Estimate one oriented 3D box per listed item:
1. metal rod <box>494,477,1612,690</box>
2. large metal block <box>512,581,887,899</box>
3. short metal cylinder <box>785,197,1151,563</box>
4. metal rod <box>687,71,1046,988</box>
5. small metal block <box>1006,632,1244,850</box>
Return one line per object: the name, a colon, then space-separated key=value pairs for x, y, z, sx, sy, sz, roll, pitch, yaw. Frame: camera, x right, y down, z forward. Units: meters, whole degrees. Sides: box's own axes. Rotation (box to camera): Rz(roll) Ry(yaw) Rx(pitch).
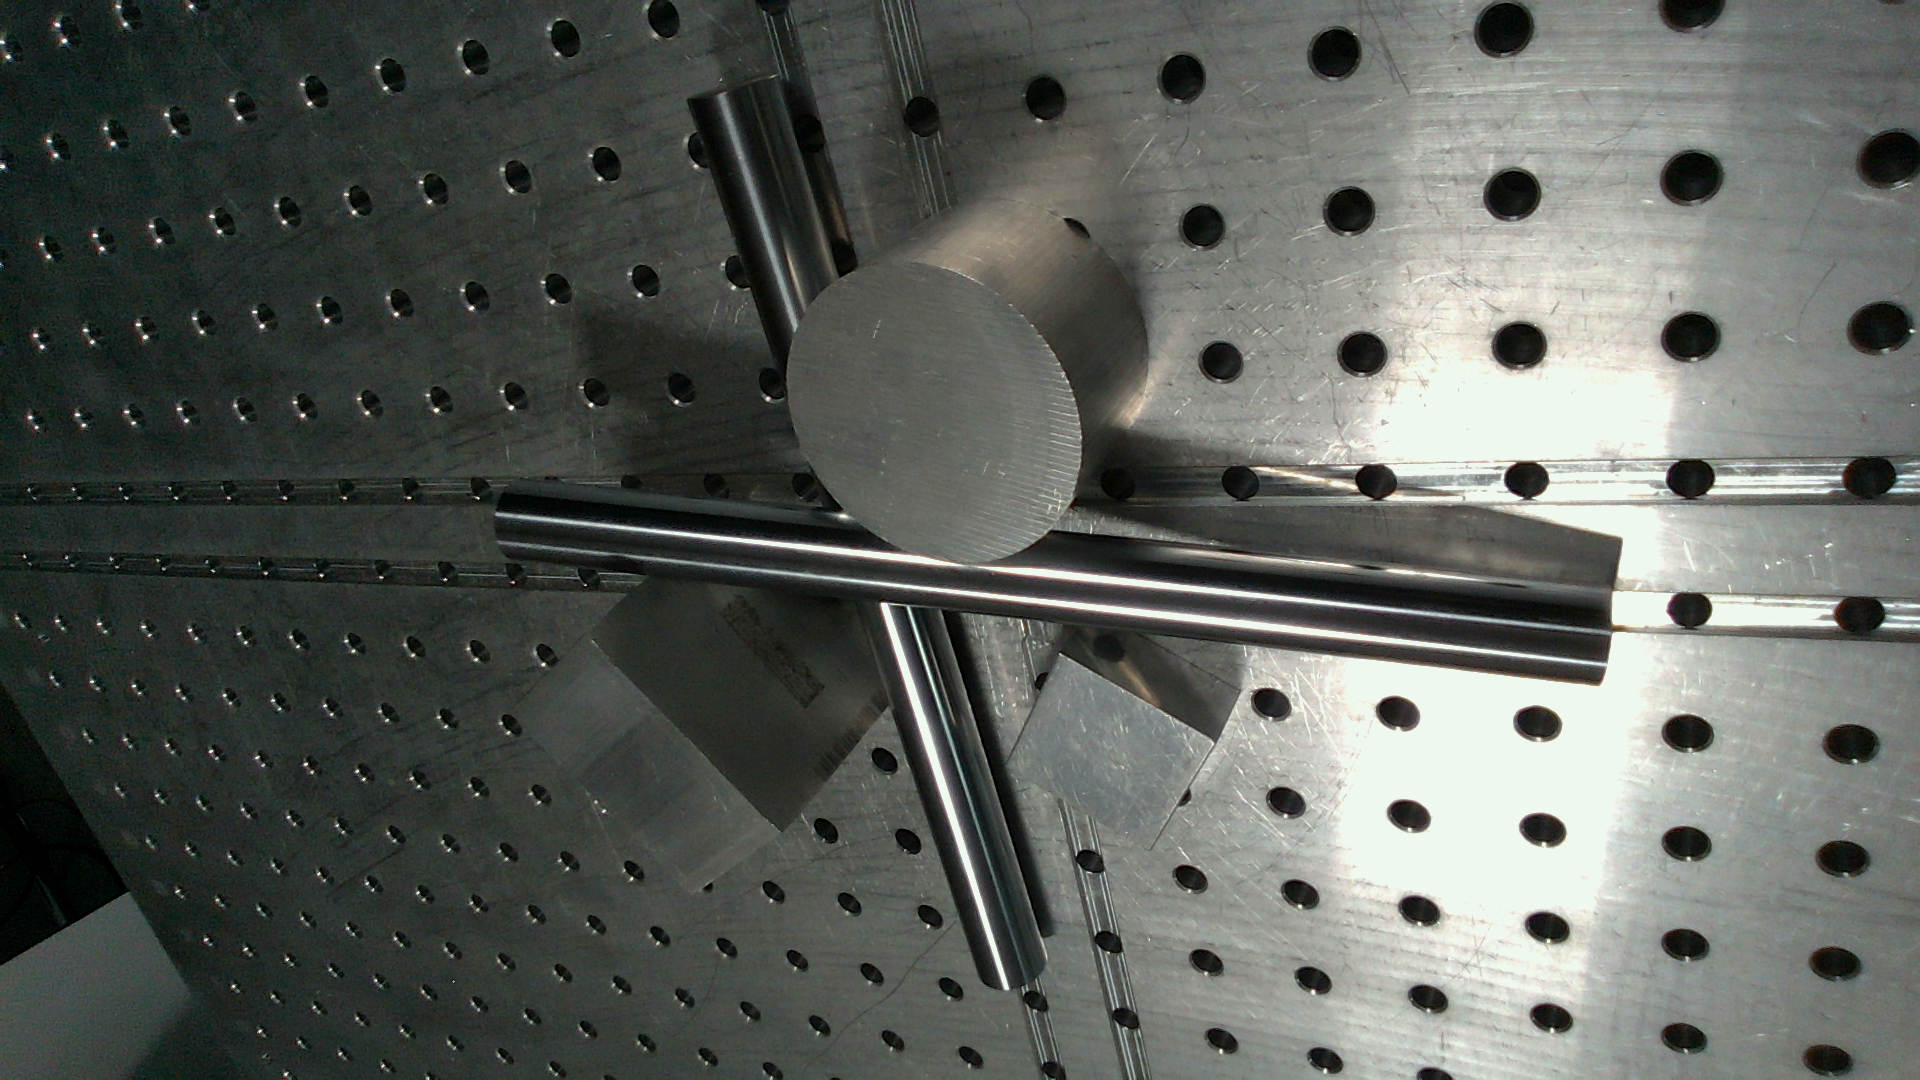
metal rod: x=0.011 y=0.009 z=0.371 sx=0.299 sy=0.025 sz=0.025 roll=6 pitch=122 yaw=16
large metal block: x=-0.075 y=0.048 z=0.429 sx=0.080 sy=0.080 sz=0.050 roll=46 pitch=129 yaw=-4
short metal cylinder: x=0.003 y=-0.041 z=0.352 sx=0.080 sy=0.050 sz=0.080 roll=13 pitch=124 yaw=21
metal rod: x=-0.020 y=0.014 z=0.416 sx=0.025 sy=0.025 sz=0.300 roll=-2 pitch=118 yaw=29
small metal block: x=0.048 y=0.055 z=0.406 sx=0.050 sy=0.025 sz=0.050 roll=29 pitch=128 yaw=10
